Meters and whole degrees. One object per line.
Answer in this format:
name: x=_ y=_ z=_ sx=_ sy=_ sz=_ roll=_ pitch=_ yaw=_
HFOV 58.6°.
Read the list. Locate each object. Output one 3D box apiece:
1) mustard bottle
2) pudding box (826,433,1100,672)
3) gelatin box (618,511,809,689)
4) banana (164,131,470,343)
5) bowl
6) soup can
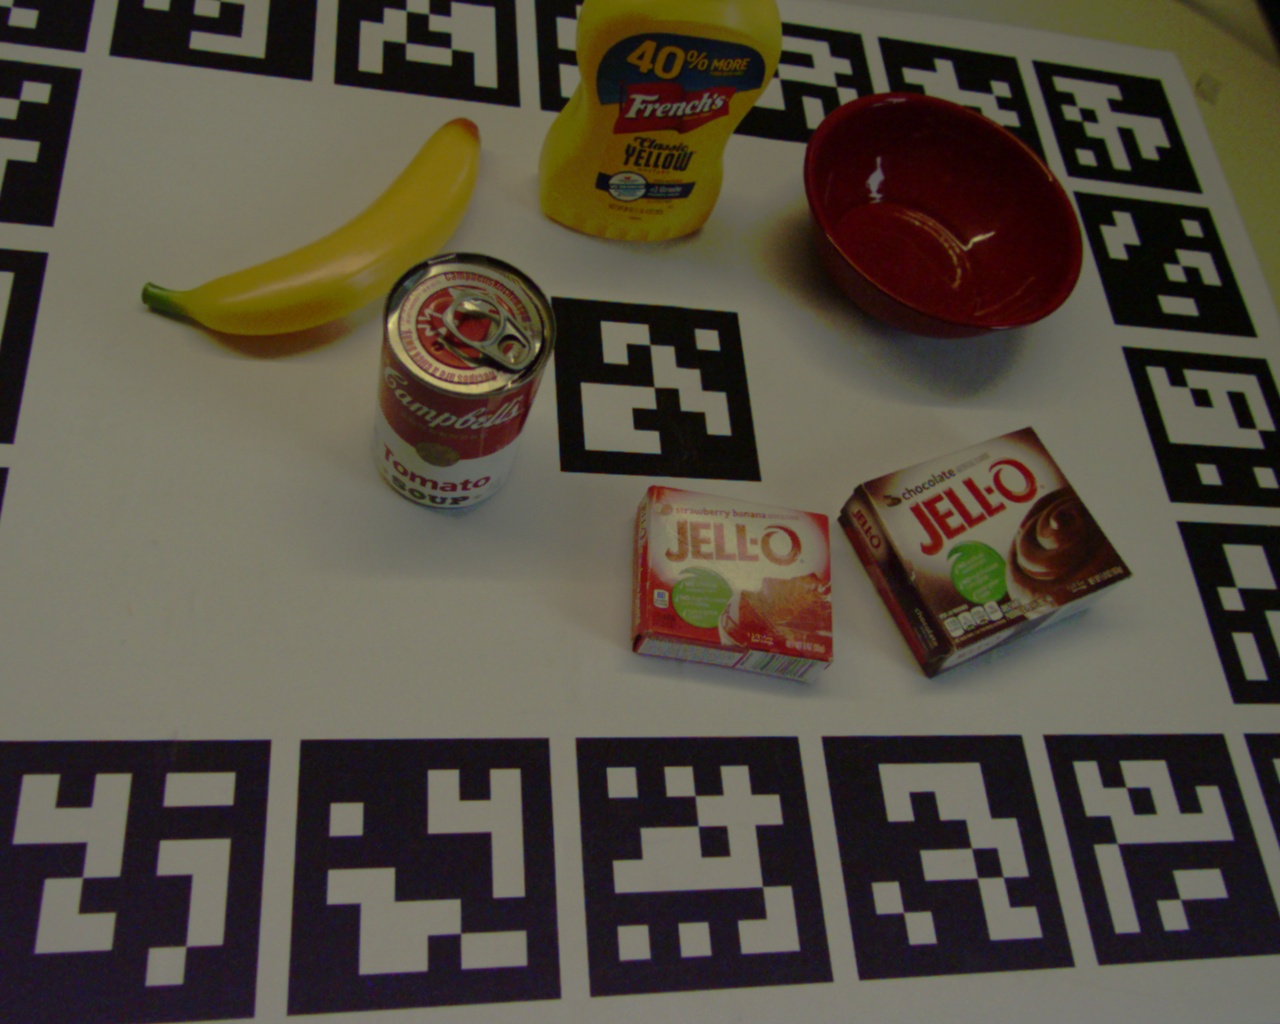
mustard bottle: x=0.014 y=-0.210 z=0.568 sx=0.095 sy=0.192 sz=0.059 roll=3 pitch=60 yaw=-15
pudding box: x=0.166 y=0.020 z=0.591 sx=0.113 sy=0.039 sz=0.090 roll=-21 pitch=76 yaw=-24
gelatin box: x=0.036 y=0.042 z=0.550 sx=0.089 sy=0.030 sz=0.073 roll=8 pitch=65 yaw=-10
banana: x=-0.146 y=-0.140 z=0.591 sx=0.075 sy=0.039 sz=0.196 roll=34 pitch=59 yaw=15
bowl: x=0.159 y=-0.152 z=0.672 sx=0.161 sy=0.055 sz=0.162 roll=5 pitch=62 yaw=-11
soup can: x=-0.087 y=-0.056 z=0.516 sx=0.067 sy=0.102 sz=0.068 roll=8 pitch=60 yaw=-14
